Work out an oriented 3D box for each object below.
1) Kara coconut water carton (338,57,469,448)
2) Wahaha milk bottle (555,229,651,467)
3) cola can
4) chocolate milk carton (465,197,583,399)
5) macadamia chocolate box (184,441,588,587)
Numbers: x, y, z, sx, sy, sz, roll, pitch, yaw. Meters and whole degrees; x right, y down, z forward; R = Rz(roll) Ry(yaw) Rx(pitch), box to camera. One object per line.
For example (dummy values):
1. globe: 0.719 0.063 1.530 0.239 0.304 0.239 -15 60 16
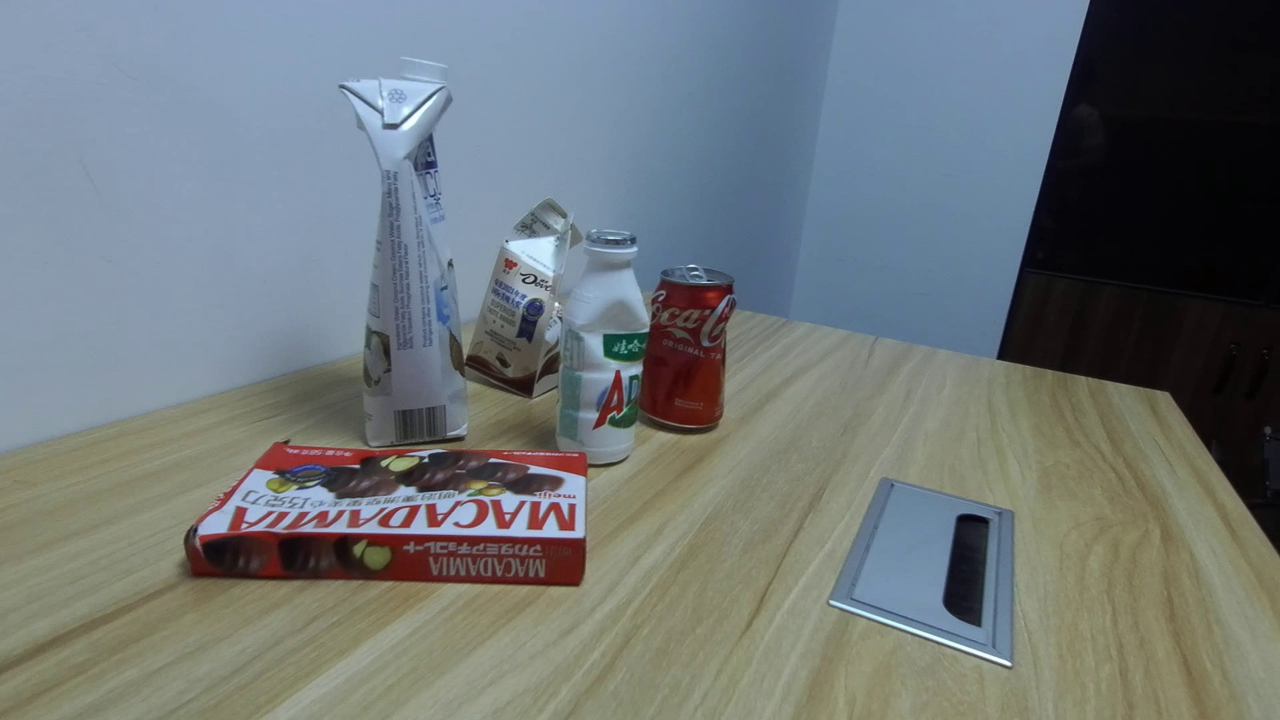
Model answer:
1. Kara coconut water carton: -0.150 -0.068 0.460 0.069 0.238 0.114 -2 17 -18
2. Wahaha milk bottle: -0.023 -0.007 0.452 0.056 0.147 0.056 6 17 -2
3. cola can: 0.037 -0.010 0.533 0.066 0.117 0.066 12 20 20
4. chocolate milk carton: -0.084 -0.052 0.588 0.076 0.155 0.089 16 6 20
5. macadamia chocolate box: -0.119 0.076 0.370 0.183 0.028 0.105 3 18 -6
